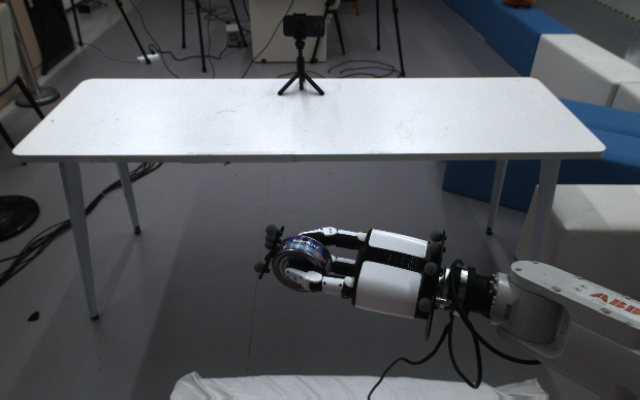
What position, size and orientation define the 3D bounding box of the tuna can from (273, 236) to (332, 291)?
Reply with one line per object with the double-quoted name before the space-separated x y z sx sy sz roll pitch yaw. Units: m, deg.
"tuna can" -0.025 0.099 0.712 0.085 0.085 0.034 9 35 10
